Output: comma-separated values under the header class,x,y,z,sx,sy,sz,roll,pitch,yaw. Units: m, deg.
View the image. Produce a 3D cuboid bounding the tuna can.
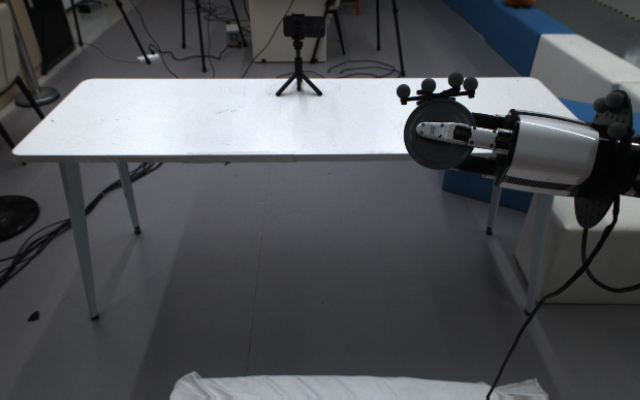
class,x,y,z,sx,sy,sz,roll,pitch,yaw
tuna can,0.147,-0.081,0.595,0.085,0.085,0.034,10,3,11
